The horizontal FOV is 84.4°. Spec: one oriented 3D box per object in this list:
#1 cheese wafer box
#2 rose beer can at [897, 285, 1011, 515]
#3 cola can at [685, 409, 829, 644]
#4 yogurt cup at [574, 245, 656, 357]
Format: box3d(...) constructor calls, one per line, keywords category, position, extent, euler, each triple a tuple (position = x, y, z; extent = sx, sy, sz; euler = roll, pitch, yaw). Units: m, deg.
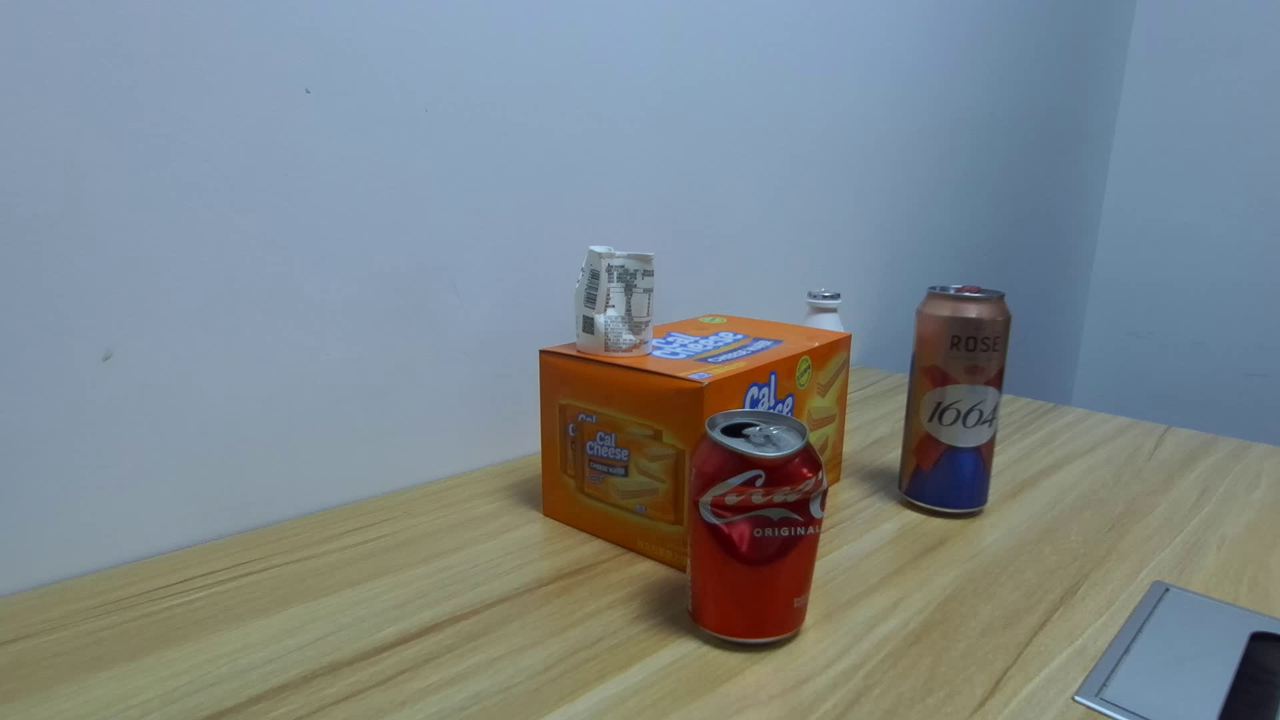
box3d(category="cheese wafer box", position=(0.050, 0.047, 0.551), extent=(0.147, 0.129, 0.223), euler=(11, 17, 37))
box3d(category="rose beer can", position=(0.240, 0.031, 0.542), extent=(0.068, 0.169, 0.068), euler=(2, 13, 0))
box3d(category="cola can", position=(0.061, 0.088, 0.382), extent=(0.072, 0.117, 0.065), euler=(1, 12, -3))
box3d(category="yogurt cup", position=(-0.018, -0.042, 0.492), extent=(0.055, 0.072, 0.055), euler=(0, 13, -5))
